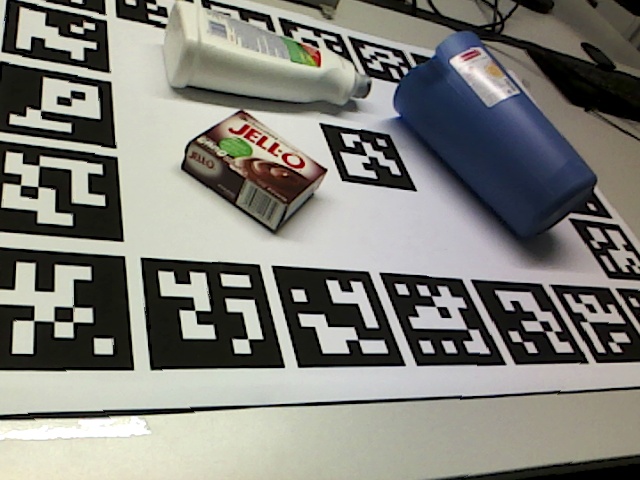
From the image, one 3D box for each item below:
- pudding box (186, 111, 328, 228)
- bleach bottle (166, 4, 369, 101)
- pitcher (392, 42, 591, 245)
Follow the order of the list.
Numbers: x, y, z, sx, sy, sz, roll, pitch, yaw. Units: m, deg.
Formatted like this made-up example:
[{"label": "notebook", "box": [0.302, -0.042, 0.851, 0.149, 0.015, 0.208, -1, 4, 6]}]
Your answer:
[{"label": "pudding box", "box": [-0.059, -0.071, 0.603, 0.114, 0.039, 0.090, 38, 35, 5]}, {"label": "bleach bottle", "box": [-0.048, -0.204, 0.731, 0.249, 0.068, 0.103, 3, 52, -31]}, {"label": "pitcher", "box": [0.214, -0.114, 0.775, 0.243, 0.133, 0.188, 55, 11, 18]}]
